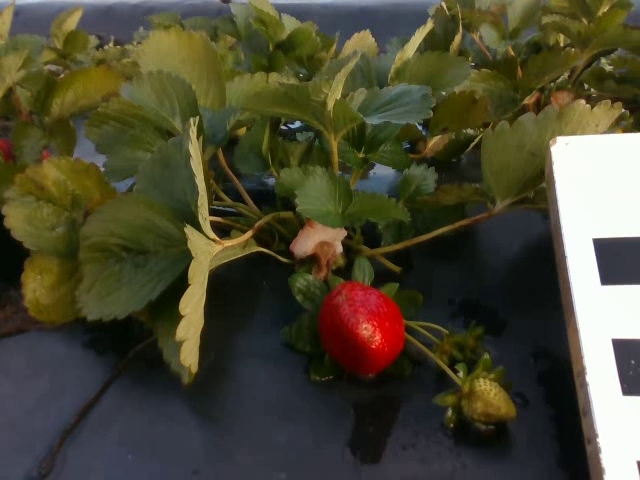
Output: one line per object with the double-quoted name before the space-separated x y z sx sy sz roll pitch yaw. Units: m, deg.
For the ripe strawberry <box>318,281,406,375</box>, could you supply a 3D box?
"ripe strawberry" 0.021 0.042 0.270 0.043 0.052 0.057 -26 -6 1
